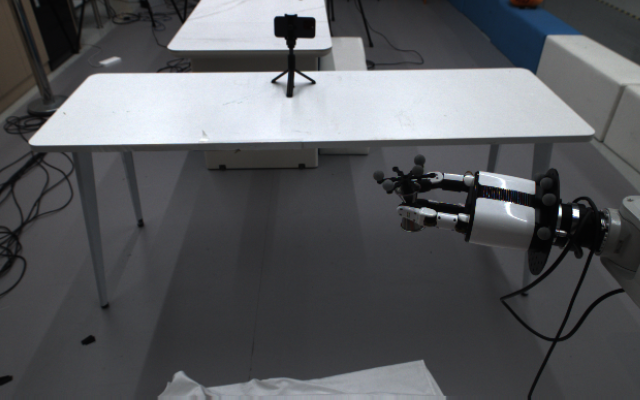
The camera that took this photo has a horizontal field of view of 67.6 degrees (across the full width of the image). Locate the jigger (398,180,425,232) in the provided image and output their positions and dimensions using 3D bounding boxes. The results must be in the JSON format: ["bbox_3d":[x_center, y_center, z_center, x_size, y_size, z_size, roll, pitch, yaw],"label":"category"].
[{"bbox_3d":[0.143,0.009,0.758,0.043,0.071,0.043,-12,29,7],"label":"jigger"}]
